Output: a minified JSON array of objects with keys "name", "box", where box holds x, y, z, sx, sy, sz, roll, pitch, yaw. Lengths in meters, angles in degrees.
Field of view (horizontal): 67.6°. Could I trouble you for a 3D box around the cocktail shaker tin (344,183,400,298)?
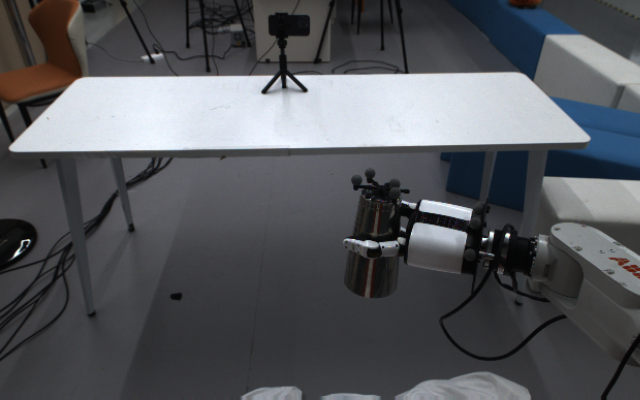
[{"name":"cocktail shaker tin","box":[0.092,0.065,0.802,0.093,0.170,0.093,3,26,-1]}]
